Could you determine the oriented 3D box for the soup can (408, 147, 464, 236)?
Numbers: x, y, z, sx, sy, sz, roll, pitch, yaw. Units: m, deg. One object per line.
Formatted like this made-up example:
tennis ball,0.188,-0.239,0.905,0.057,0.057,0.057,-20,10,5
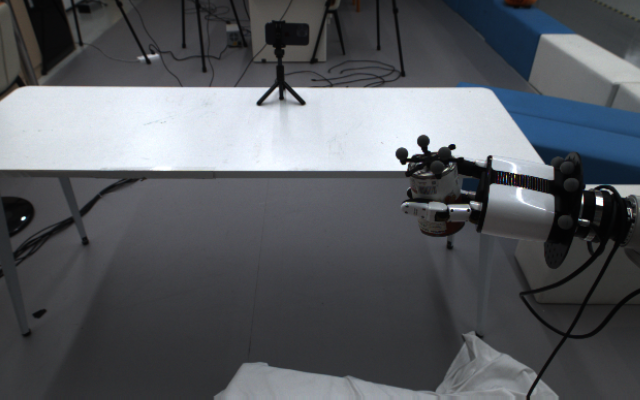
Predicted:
soup can,0.166,-0.009,0.683,0.067,0.101,0.067,-13,31,8
